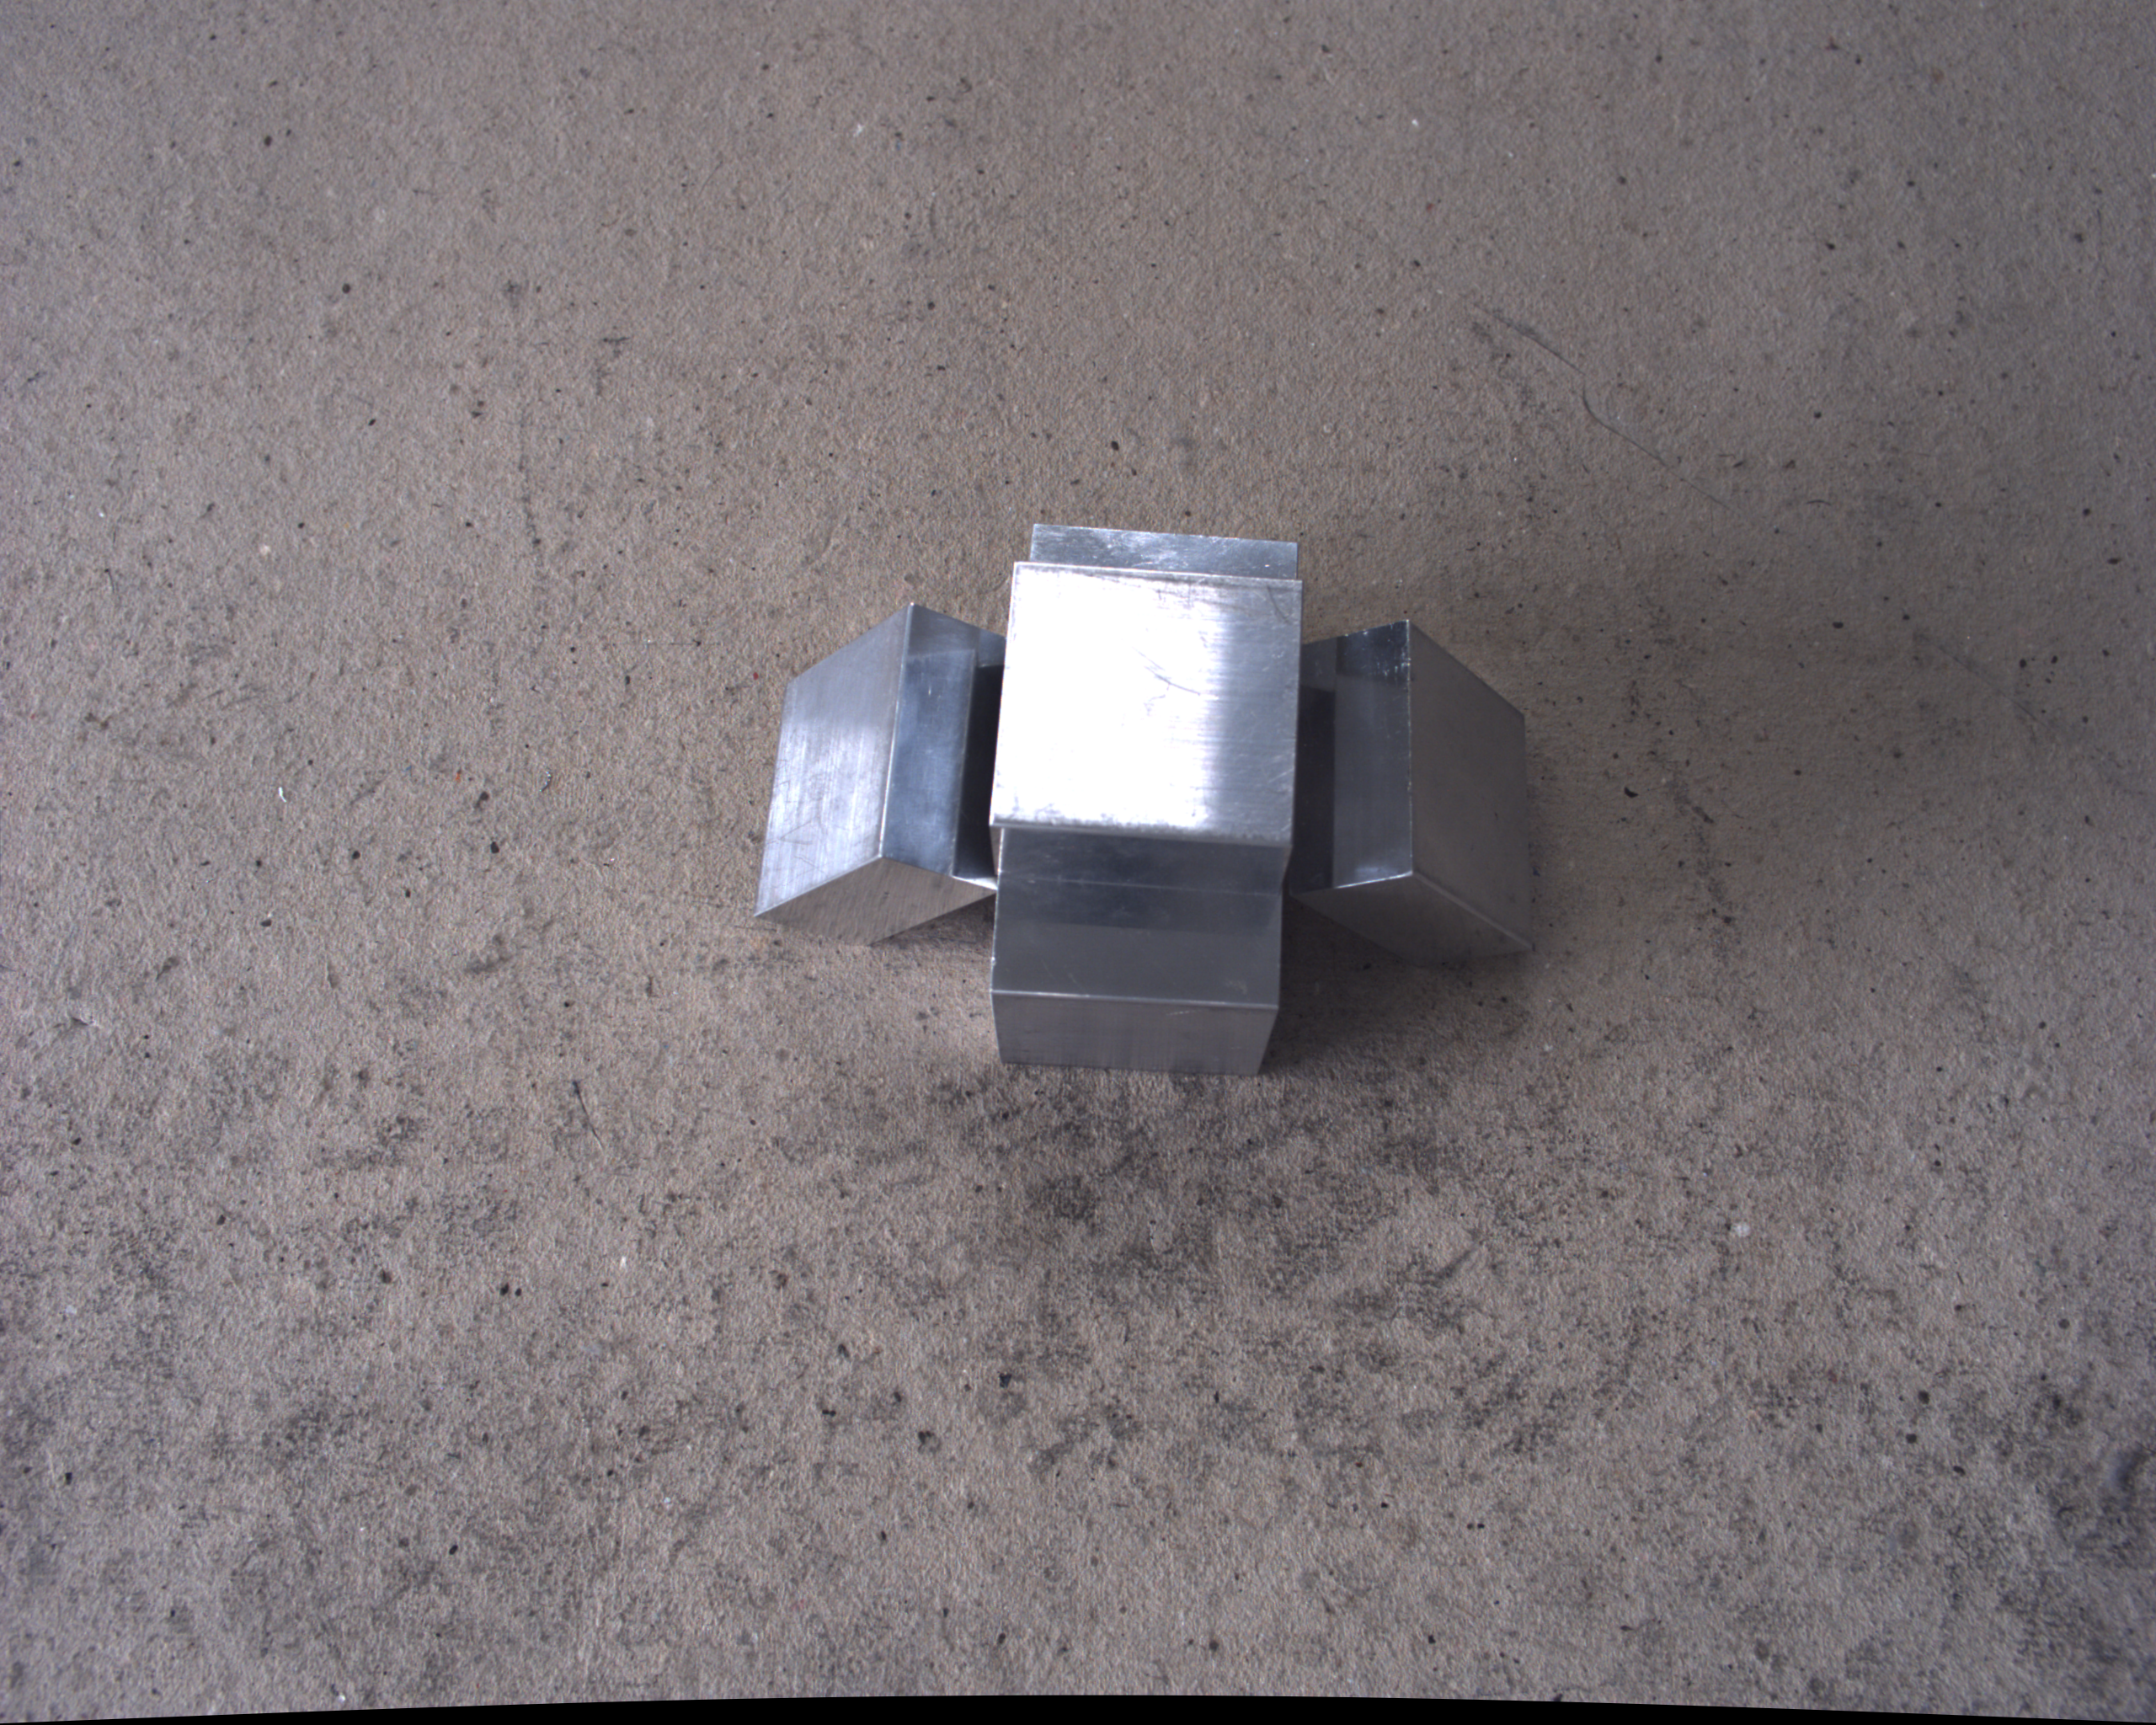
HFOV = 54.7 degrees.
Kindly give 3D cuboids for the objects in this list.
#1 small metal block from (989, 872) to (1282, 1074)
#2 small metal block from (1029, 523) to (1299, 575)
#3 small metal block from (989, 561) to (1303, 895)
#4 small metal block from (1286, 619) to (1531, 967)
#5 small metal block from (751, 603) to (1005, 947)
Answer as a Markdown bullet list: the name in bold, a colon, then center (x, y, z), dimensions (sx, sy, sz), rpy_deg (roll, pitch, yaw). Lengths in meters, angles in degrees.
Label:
- **small metal block**: center (0.010, 0.021, 0.389), dimensions (0.050, 0.050, 0.025), rpy_deg (3, 71, 1)
- **small metal block**: center (0.016, -0.042, 0.412), dimensions (0.050, 0.050, 0.025), rpy_deg (4, 71, 1)
- **small metal block**: center (0.012, -0.023, 0.365), dimensions (0.050, 0.025, 0.050), rpy_deg (4, 70, 1)
- **small metal block**: center (0.064, -0.012, 0.398), dimensions (0.025, 0.050, 0.050), rpy_deg (-12, 66, 34)
- **small metal block**: center (-0.037, -0.015, 0.399), dimensions (0.025, 0.050, 0.050), rpy_deg (17, 67, -32)
